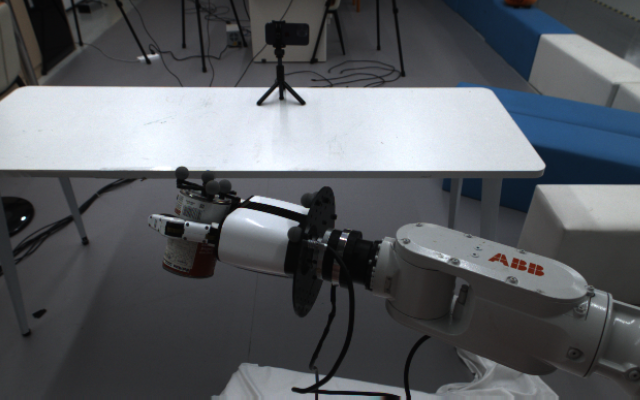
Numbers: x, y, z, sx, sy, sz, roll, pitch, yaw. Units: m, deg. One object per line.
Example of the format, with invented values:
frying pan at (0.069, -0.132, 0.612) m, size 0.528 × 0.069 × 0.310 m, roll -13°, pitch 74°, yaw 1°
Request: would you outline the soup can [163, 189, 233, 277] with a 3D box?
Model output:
soup can at (-0.155, 0.042, 0.616) m, size 0.067 × 0.101 × 0.067 m, roll 15°, pitch 7°, yaw -2°
